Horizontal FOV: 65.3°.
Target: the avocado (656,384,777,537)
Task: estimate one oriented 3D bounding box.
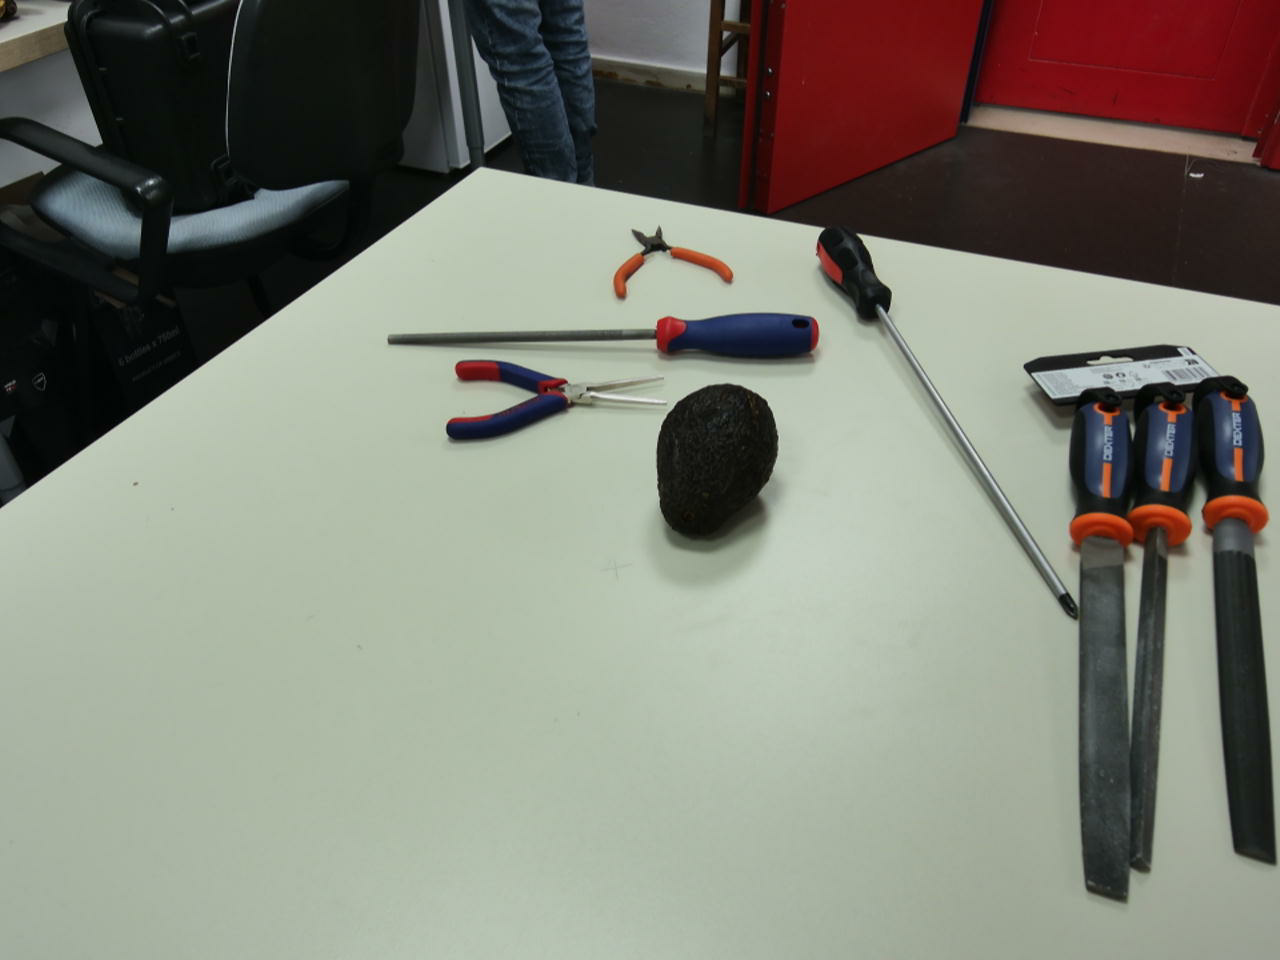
[{"bbox_3d":[0.041,-0.016,0.581,0.090,0.069,0.070,-28,46,-30],"label":"avocado"}]
